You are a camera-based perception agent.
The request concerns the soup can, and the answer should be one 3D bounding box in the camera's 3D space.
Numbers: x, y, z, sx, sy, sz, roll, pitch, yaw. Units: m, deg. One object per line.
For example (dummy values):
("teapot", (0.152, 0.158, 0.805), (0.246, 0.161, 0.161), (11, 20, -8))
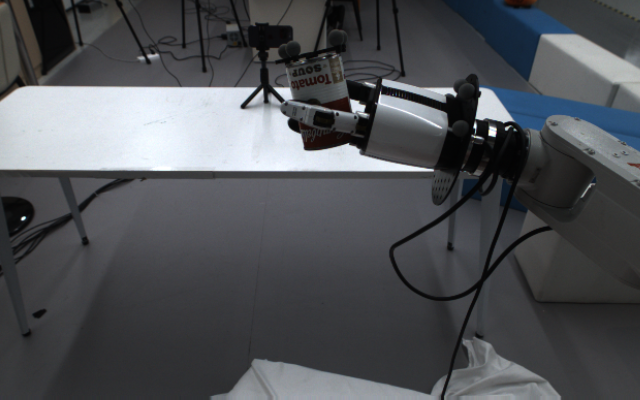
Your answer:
("soup can", (0.003, -0.117, 0.578), (0.067, 0.101, 0.067), (-12, 17, 4))
